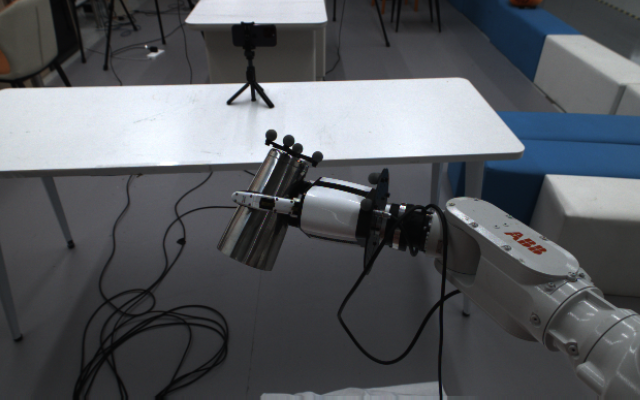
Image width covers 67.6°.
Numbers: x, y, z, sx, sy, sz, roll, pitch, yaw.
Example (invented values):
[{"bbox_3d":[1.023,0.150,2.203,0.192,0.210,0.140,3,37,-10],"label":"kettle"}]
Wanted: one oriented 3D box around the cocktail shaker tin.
[{"bbox_3d":[-0.080,0.010,0.740,0.093,0.170,0.093,23,0,0],"label":"cocktail shaker tin"}]
